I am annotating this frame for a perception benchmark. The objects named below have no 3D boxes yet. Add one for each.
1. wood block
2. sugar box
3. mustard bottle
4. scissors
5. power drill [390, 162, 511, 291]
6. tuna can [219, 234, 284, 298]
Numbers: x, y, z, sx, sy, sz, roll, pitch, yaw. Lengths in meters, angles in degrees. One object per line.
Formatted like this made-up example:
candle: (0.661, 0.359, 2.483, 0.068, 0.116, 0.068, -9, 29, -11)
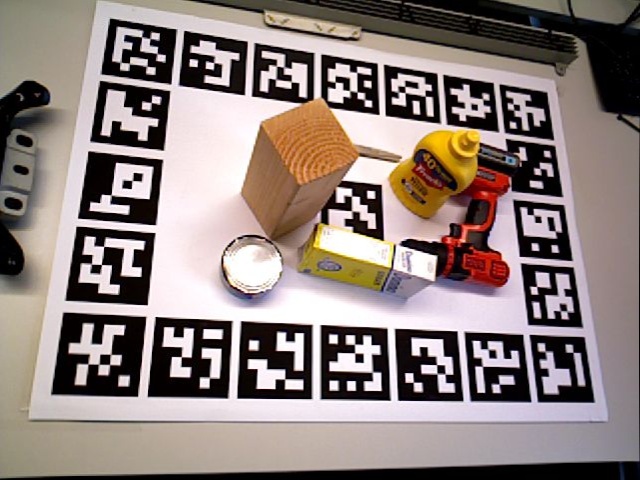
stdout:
wood block: (-0.034, -0.087, 0.704, 0.089, 0.210, 0.090, -24, 81, -21)
sugar box: (0.072, 0.034, 0.749, 0.175, 0.095, 0.045, 17, 66, -11)
mustard bottle: (0.176, -0.102, 0.770, 0.057, 0.195, 0.096, -37, 86, -22)
scissors: (0.022, -0.149, 0.829, 0.201, 0.016, 0.087, 7, 68, -12)
power drill: (0.205, -0.030, 0.820, 0.183, 0.058, 0.186, 18, 77, -9)
tuna can: (-0.094, 0.034, 0.732, 0.085, 0.034, 0.085, 4, 74, -14)
